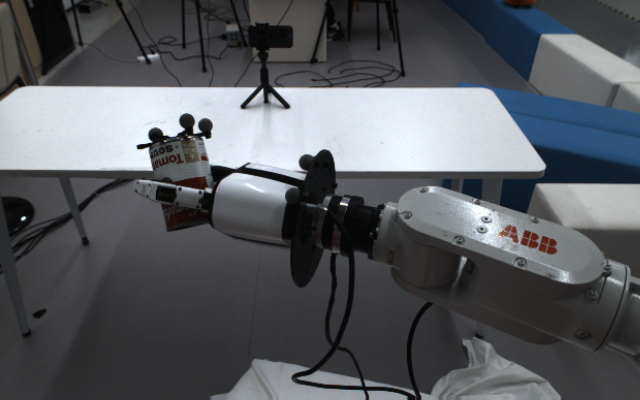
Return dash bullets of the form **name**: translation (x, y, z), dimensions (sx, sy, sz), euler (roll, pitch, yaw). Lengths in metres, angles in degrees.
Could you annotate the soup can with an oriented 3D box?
- **soup can**: translation (-0.161, -0.018, 0.586), dimensions (0.067, 0.101, 0.067), euler (-14, -2, -1)
